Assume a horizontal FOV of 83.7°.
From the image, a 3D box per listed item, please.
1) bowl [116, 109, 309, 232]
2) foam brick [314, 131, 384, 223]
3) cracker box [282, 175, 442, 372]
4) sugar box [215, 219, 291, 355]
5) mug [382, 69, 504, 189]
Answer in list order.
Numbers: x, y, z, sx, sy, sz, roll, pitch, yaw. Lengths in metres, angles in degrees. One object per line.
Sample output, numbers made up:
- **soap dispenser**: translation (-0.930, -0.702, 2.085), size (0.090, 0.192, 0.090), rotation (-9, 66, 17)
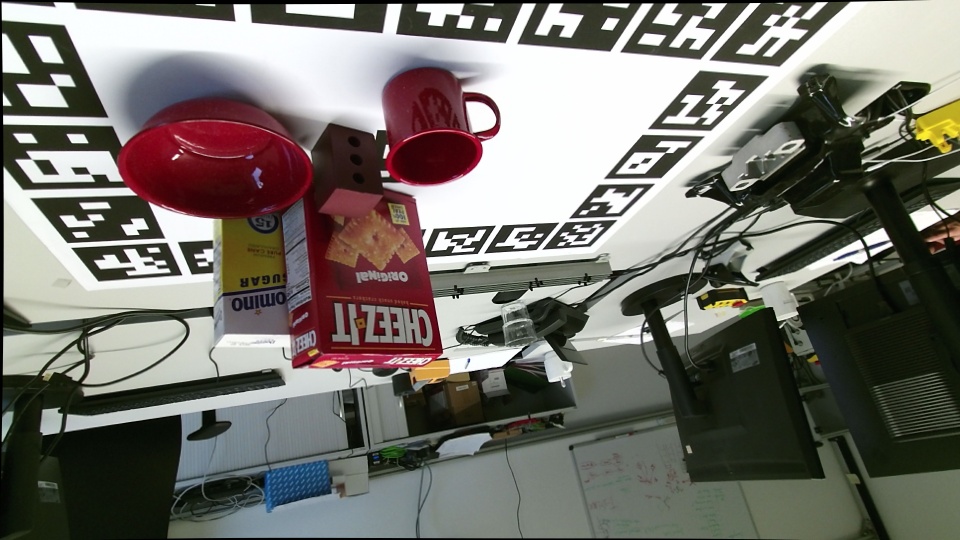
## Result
- **bowl**: translation (-0.246, -0.097, 0.496), size (0.162, 0.055, 0.162), rotation (-12, 157, -5)
- **foam brick**: translation (-0.140, -0.097, 0.567), size (0.053, 0.077, 0.051), rotation (1, 155, -35)
- **cracker box**: translation (-0.138, 0.008, 0.634), size (0.072, 0.212, 0.165), rotation (-28, 154, 36)
- **sugar box**: translation (-0.249, 0.008, 0.613), size (0.093, 0.175, 0.045), rotation (5, 152, -40)
- **mug**: translation (-0.035, -0.135, 0.511), size (0.117, 0.081, 0.093), rotation (-11, 166, -13)
